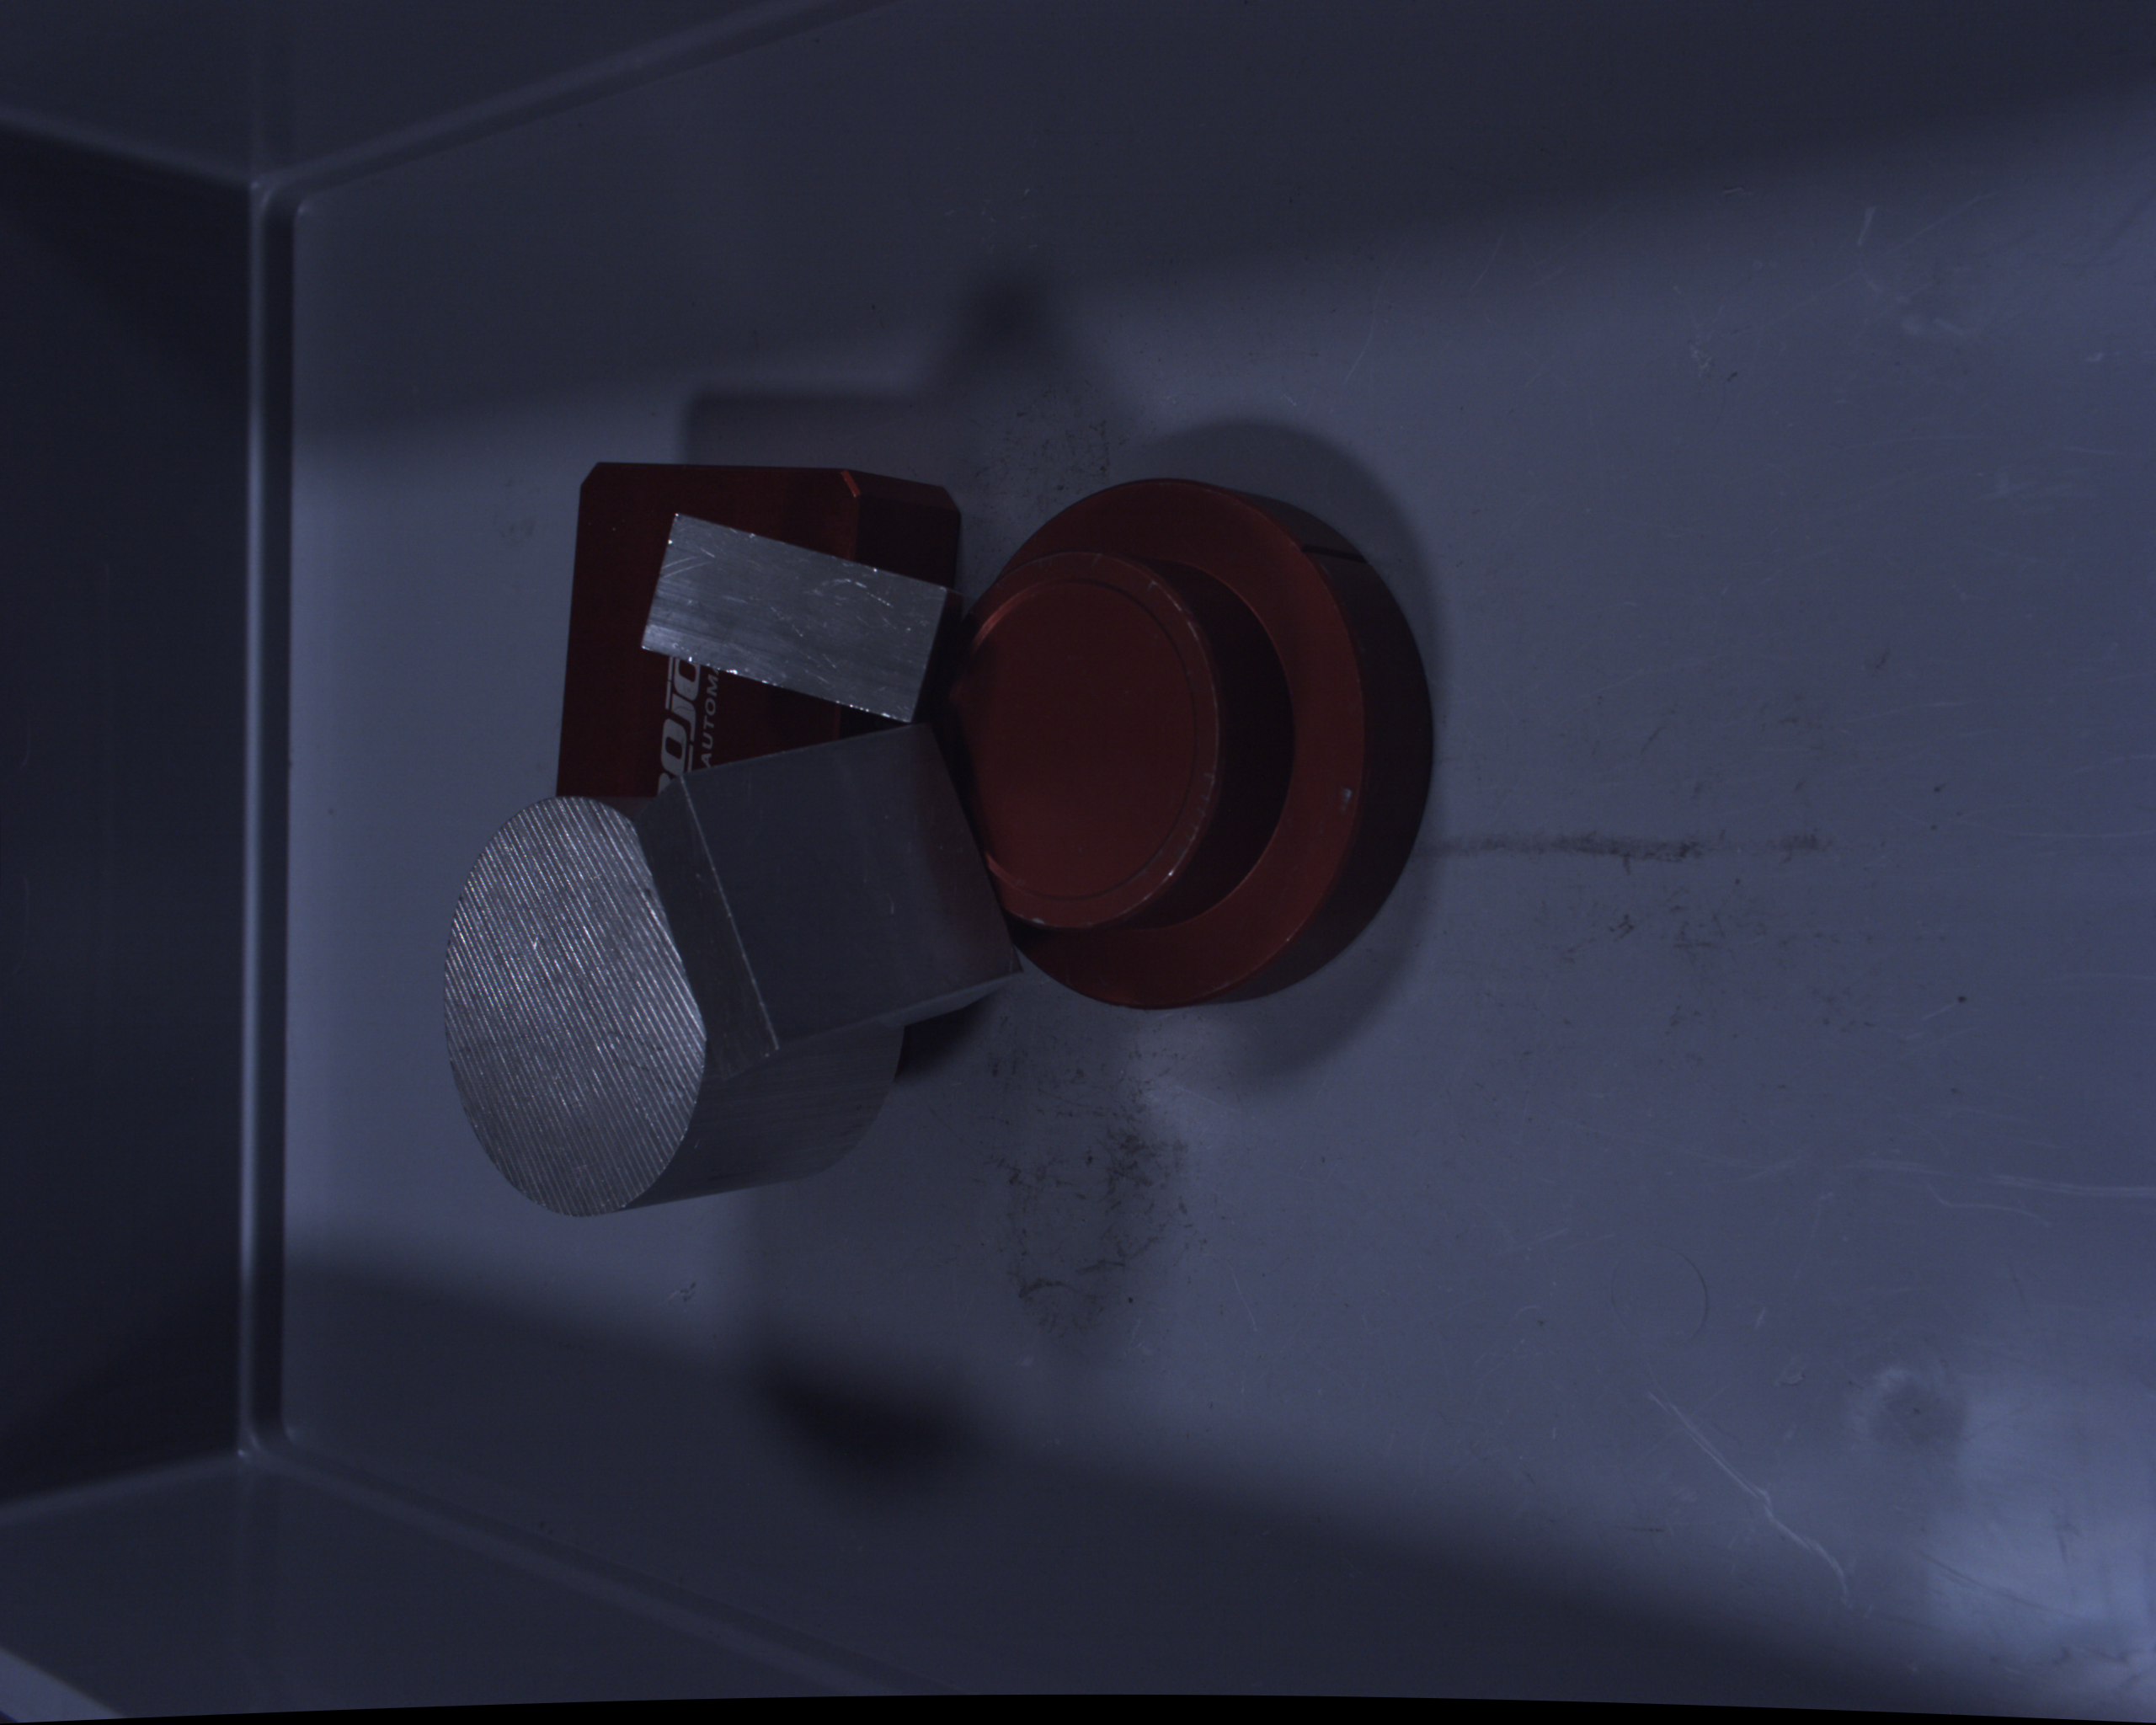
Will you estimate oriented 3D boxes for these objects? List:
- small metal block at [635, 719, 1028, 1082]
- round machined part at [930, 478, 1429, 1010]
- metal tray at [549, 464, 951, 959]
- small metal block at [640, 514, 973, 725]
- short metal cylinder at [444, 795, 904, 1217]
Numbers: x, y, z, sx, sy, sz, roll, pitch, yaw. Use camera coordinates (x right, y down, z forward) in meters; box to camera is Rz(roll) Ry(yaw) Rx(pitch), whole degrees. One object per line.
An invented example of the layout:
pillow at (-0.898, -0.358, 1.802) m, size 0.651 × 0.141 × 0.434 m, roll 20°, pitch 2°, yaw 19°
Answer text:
small metal block at (-0.044, 0.006, 0.372) m, size 0.025 × 0.050 × 0.050 m, roll -33°, pitch 76°, yaw 55°
round machined part at (0.011, -0.022, 0.382) m, size 0.098 × 0.042 × 0.097 m, roll 0°, pitch 90°, yaw 39°
metal tray at (-0.076, -0.020, 0.459) m, size 0.090 × 0.030 × 0.129 m, roll 10°, pitch 96°, yaw 39°
small metal block at (-0.049, -0.045, 0.393) m, size 0.050 × 0.050 × 0.025 m, roll 16°, pitch 96°, yaw 1°
short metal cylinder at (-0.081, 0.027, 0.413) m, size 0.080 × 0.050 × 0.079 m, roll 0°, pitch 90°, yaw 39°
